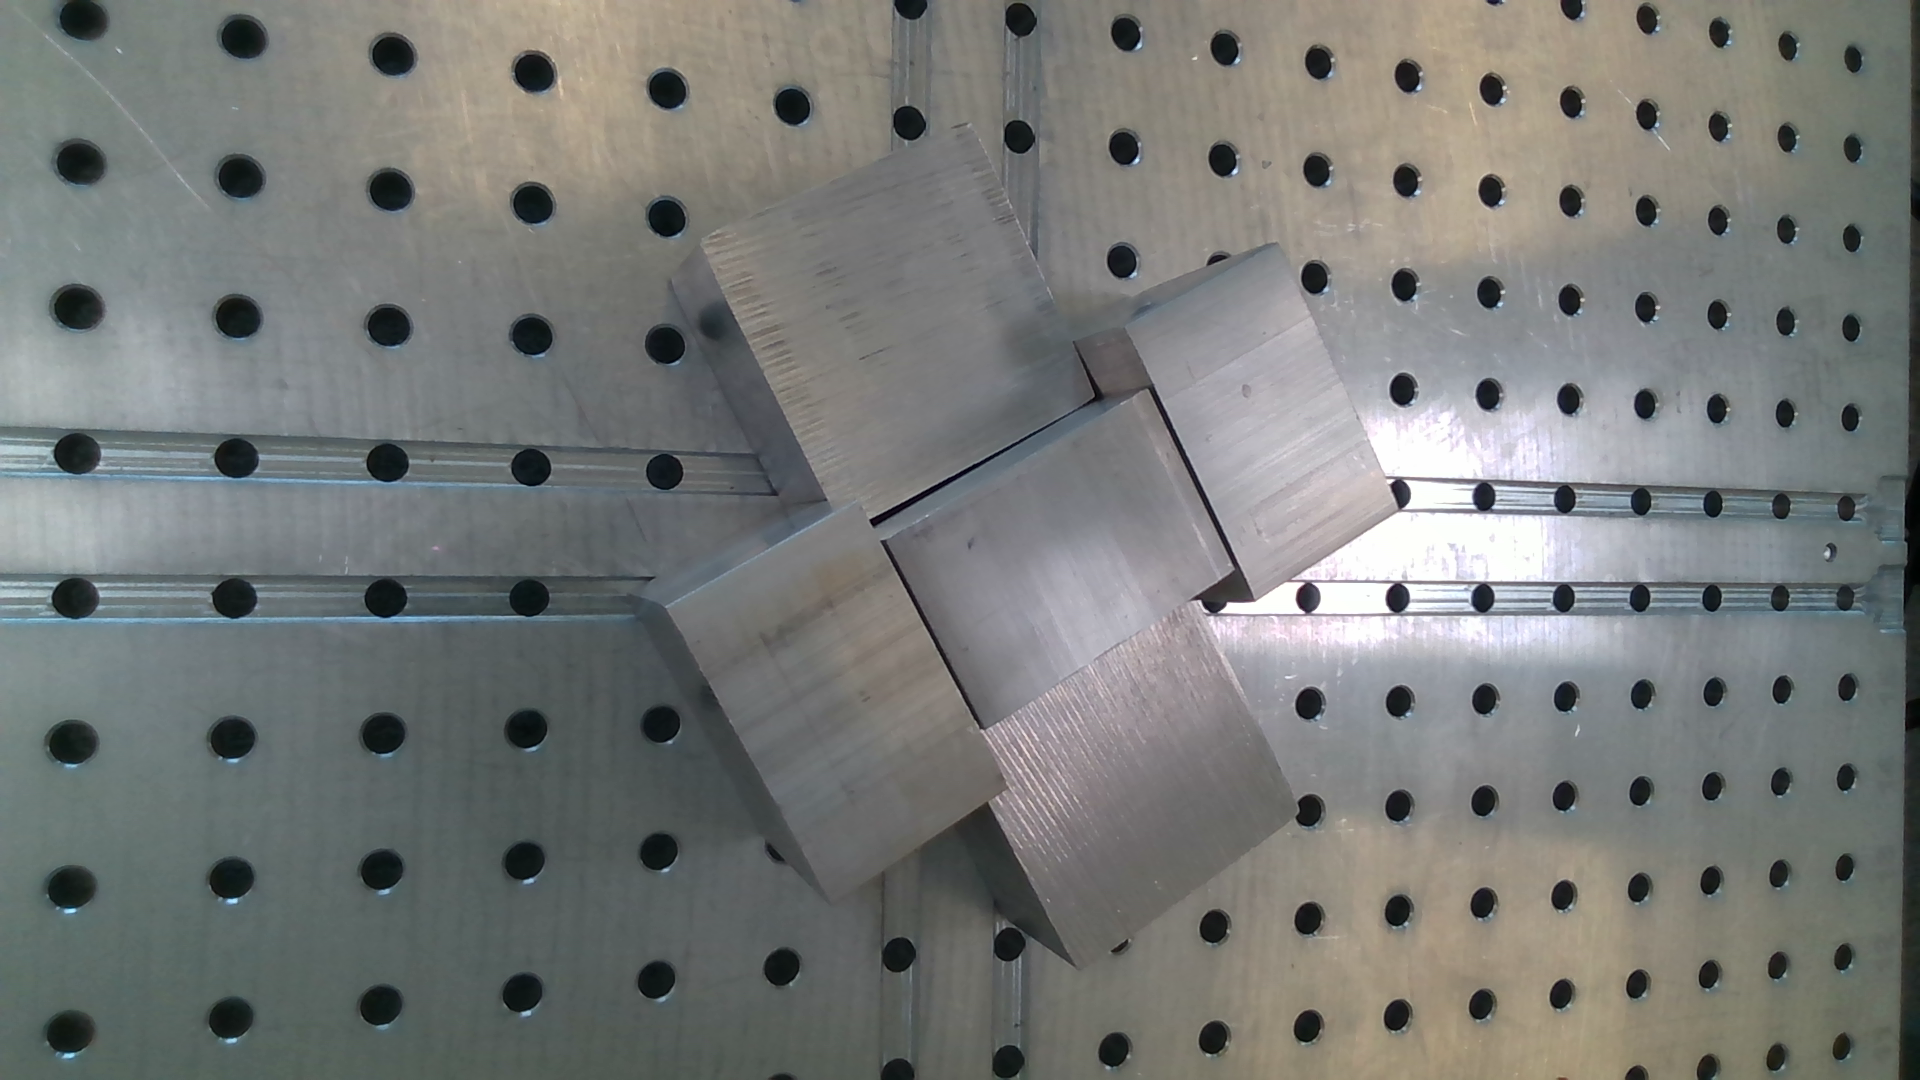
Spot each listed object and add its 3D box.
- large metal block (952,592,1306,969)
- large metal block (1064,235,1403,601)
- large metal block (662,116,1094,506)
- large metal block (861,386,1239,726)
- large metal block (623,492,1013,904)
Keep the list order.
[{"bbox_3d":[0.039,0.061,0.397,0.080,0.050,0.080,-30,100,-16],"label":"large metal block"},{"bbox_3d":[0.066,-0.031,0.390,0.050,0.080,0.080,-30,100,-18],"label":"large metal block"},{"bbox_3d":[-0.023,-0.057,0.375,0.080,0.050,0.080,-28,99,-18],"label":"large metal block"},{"bbox_3d":[0.013,0.003,0.372,0.080,0.080,0.050,-30,100,-18],"label":"large metal block"},{"bbox_3d":[-0.040,0.036,0.353,0.050,0.080,0.080,-30,101,-18],"label":"large metal block"}]
